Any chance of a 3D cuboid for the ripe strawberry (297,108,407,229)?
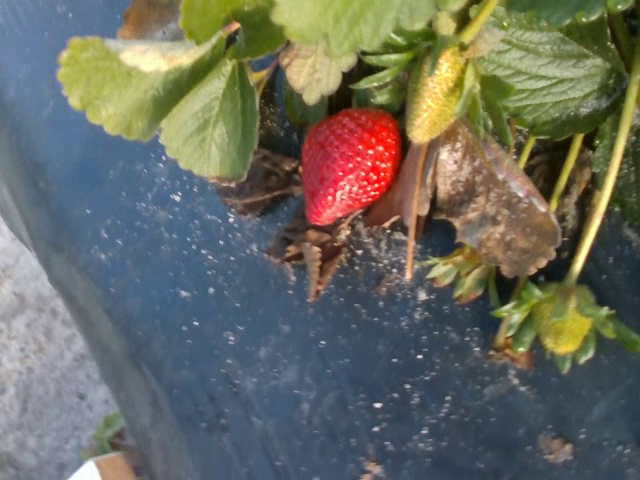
[{"bbox_3d":[0.004,-0.016,0.135,0.032,0.030,0.025,13,-20,29],"label":"ripe strawberry"}]
